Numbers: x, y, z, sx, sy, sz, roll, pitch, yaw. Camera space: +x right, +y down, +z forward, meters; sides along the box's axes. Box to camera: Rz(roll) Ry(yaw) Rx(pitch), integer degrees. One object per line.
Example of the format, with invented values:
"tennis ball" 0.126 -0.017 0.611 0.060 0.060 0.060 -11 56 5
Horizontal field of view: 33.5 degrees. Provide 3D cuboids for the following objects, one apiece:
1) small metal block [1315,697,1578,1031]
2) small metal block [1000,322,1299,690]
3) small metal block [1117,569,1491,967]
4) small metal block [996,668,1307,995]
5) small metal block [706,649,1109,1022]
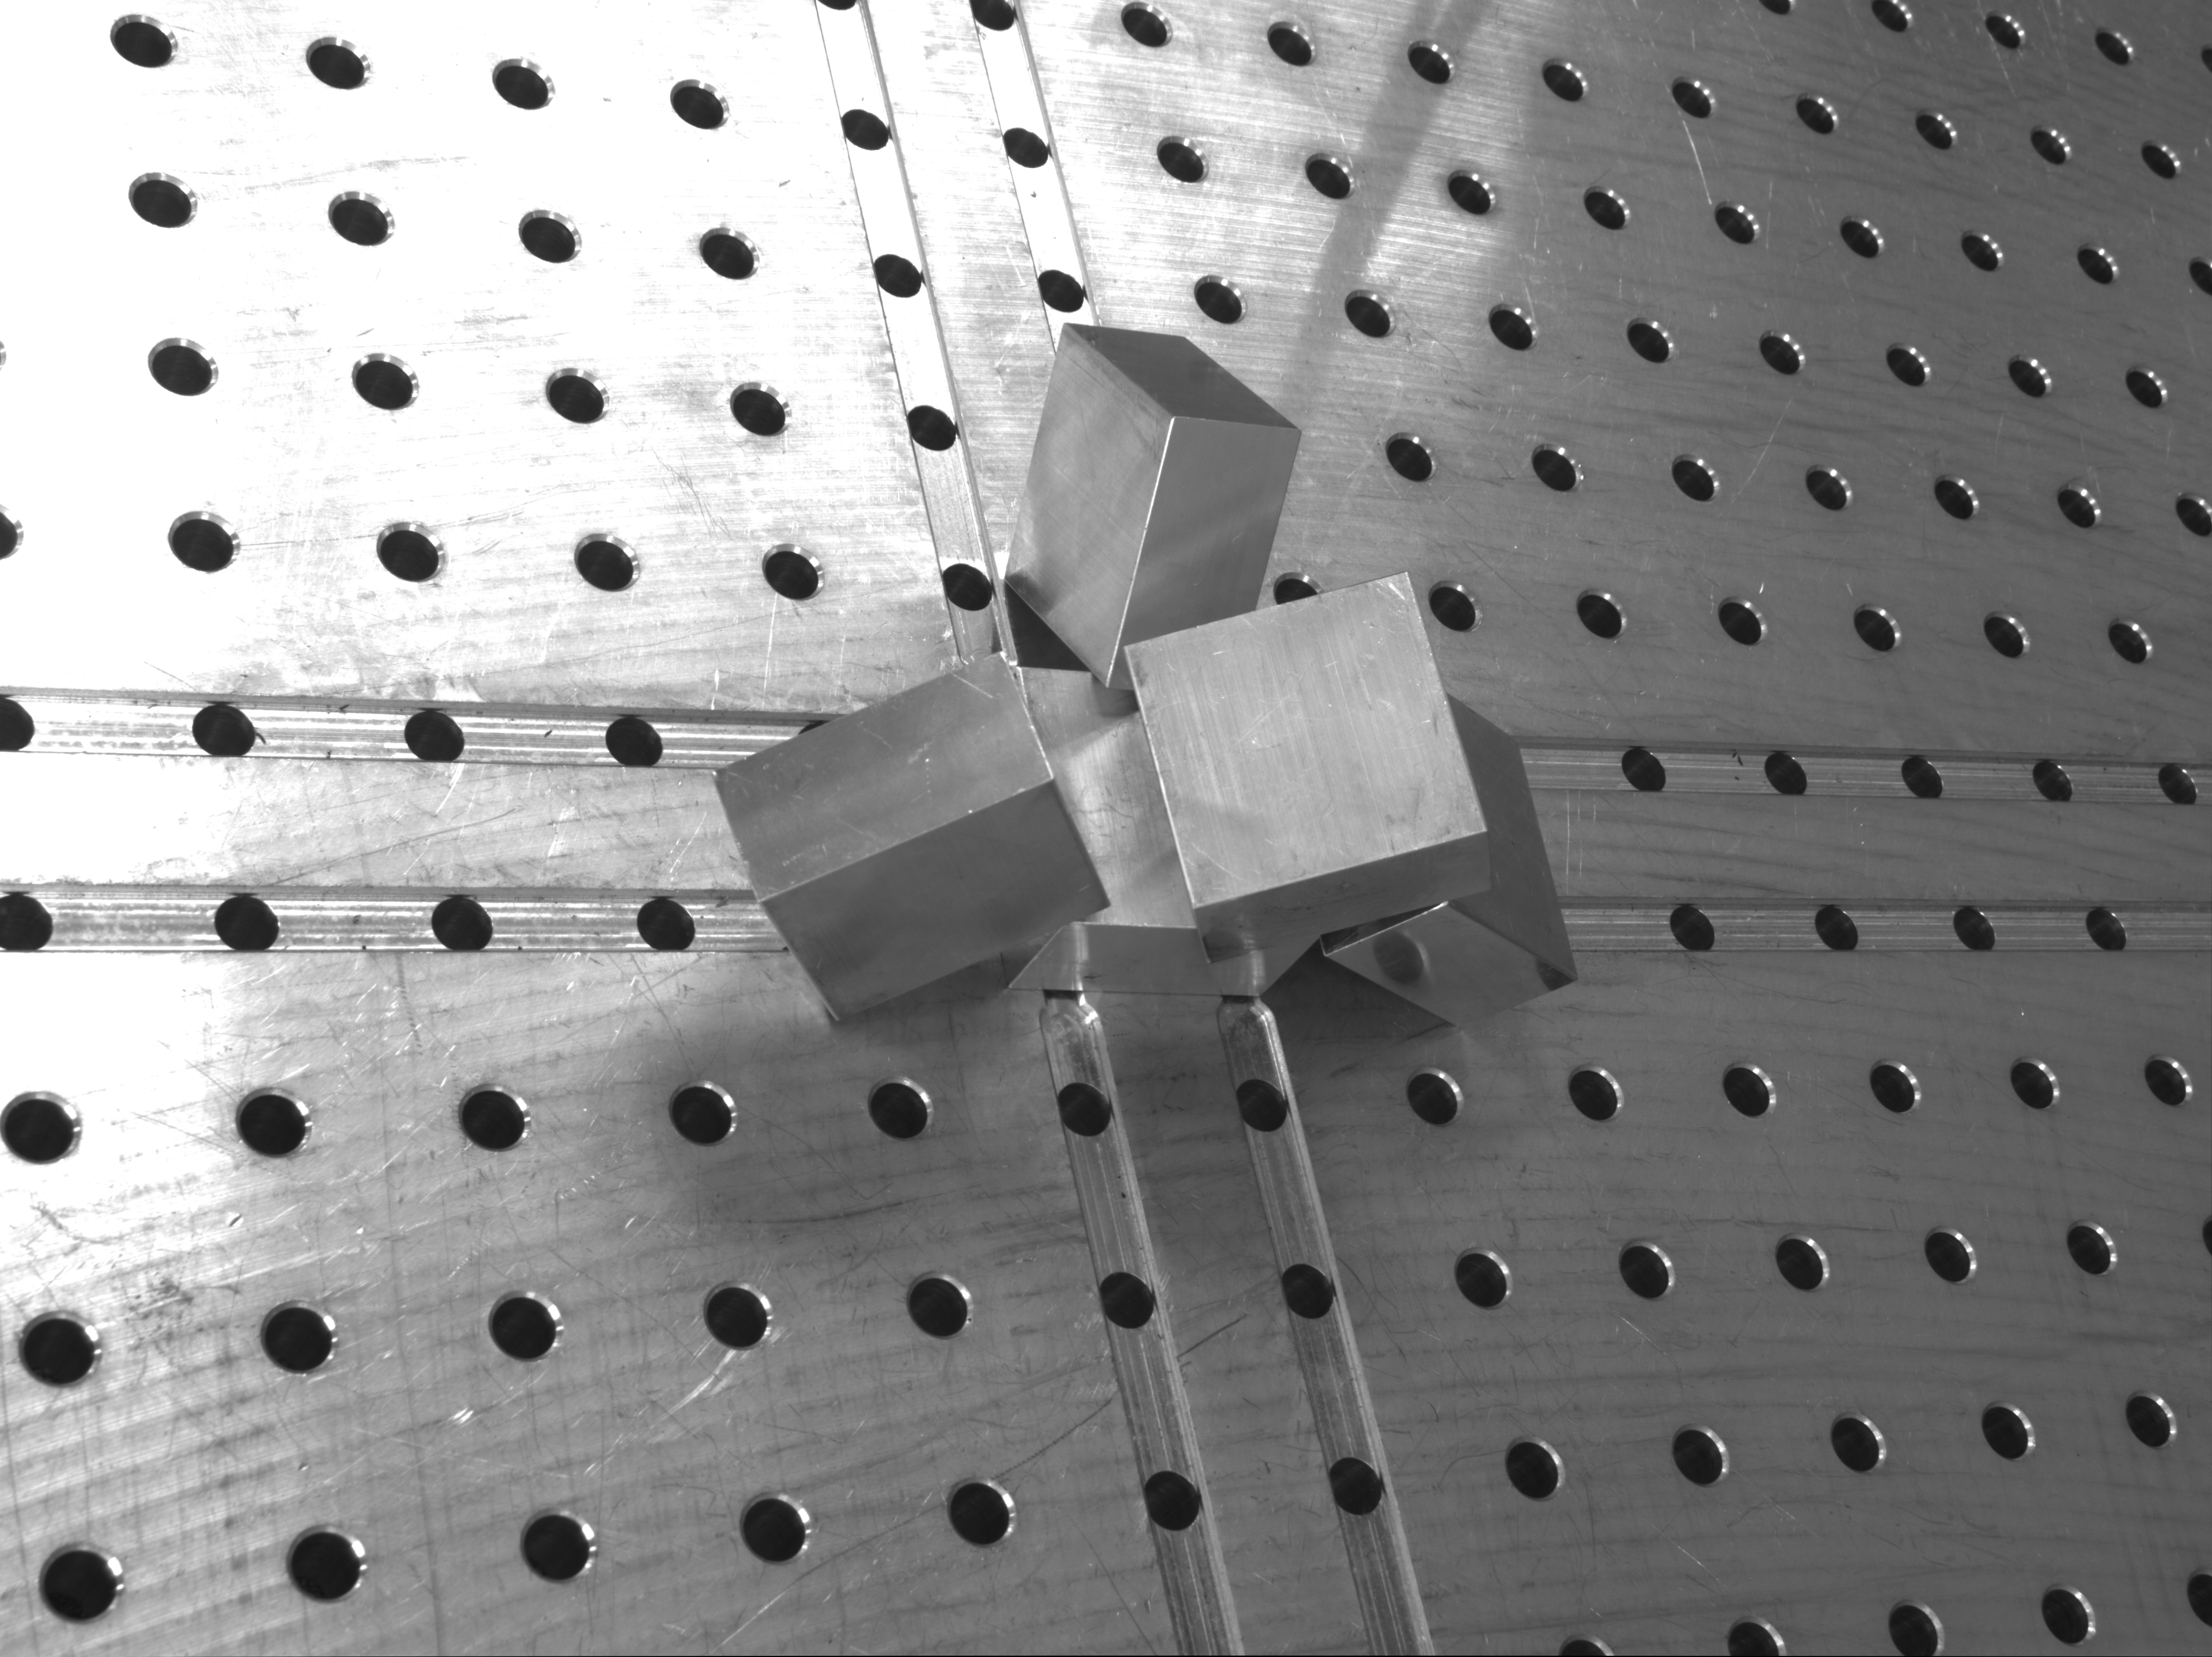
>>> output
"small metal block" 0.056 0.003 0.656 0.050 0.025 0.050 27 44 -52
"small metal block" 0.007 -0.057 0.652 0.025 0.050 0.050 3 24 -26
"small metal block" 0.033 -0.010 0.619 0.050 0.025 0.050 -15 65 1
"small metal block" 0.005 0.001 0.645 0.050 0.025 0.050 2 60 -27
"small metal block" -0.031 0.002 0.595 0.050 0.050 0.025 -23 63 0
